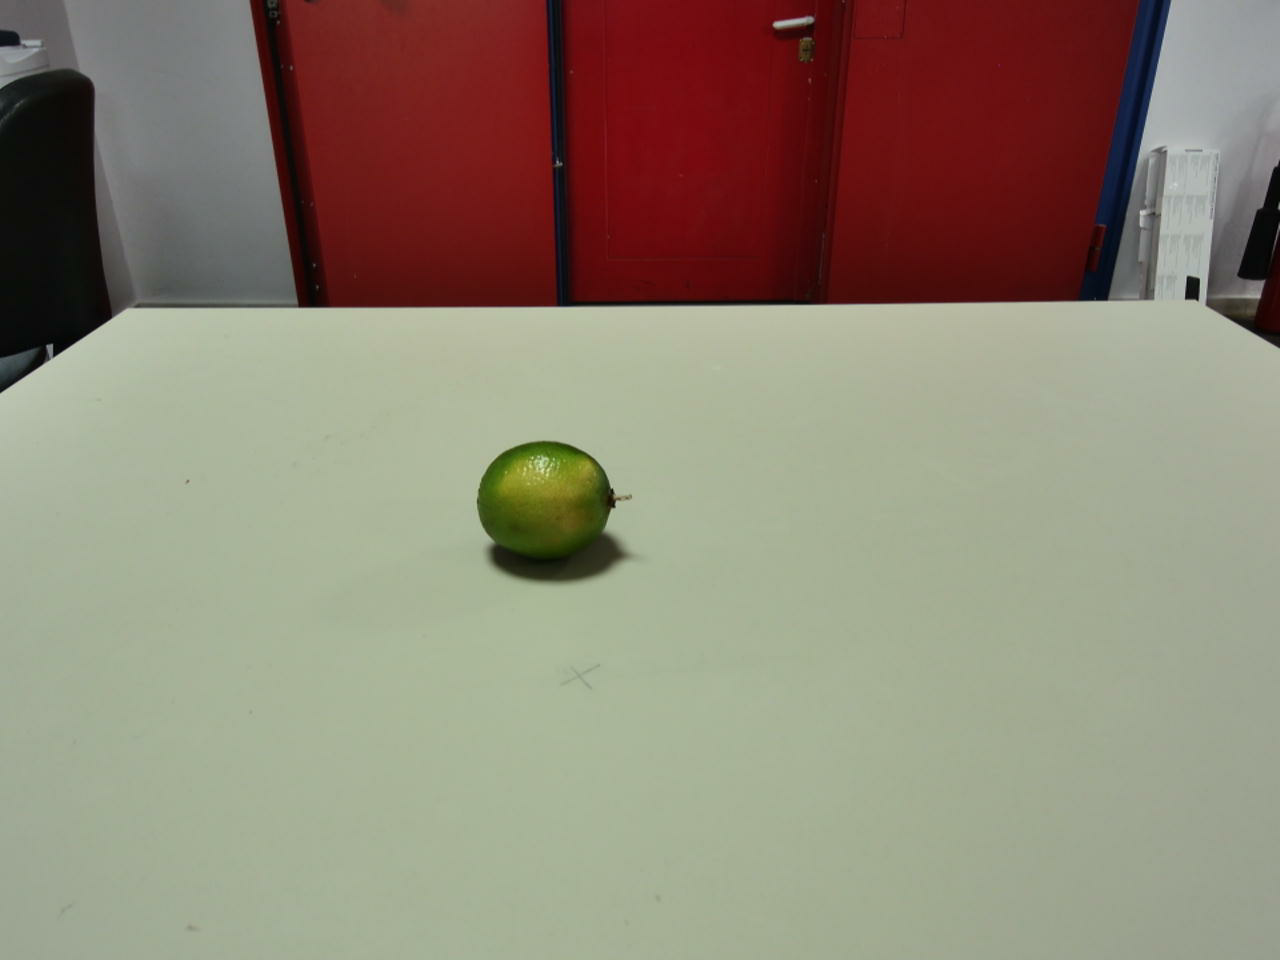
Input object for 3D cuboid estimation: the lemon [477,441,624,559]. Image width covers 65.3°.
[{"bbox_3d":[-0.042,0.008,0.432,0.054,0.050,0.055,-20,31,-36],"label":"lemon"}]
